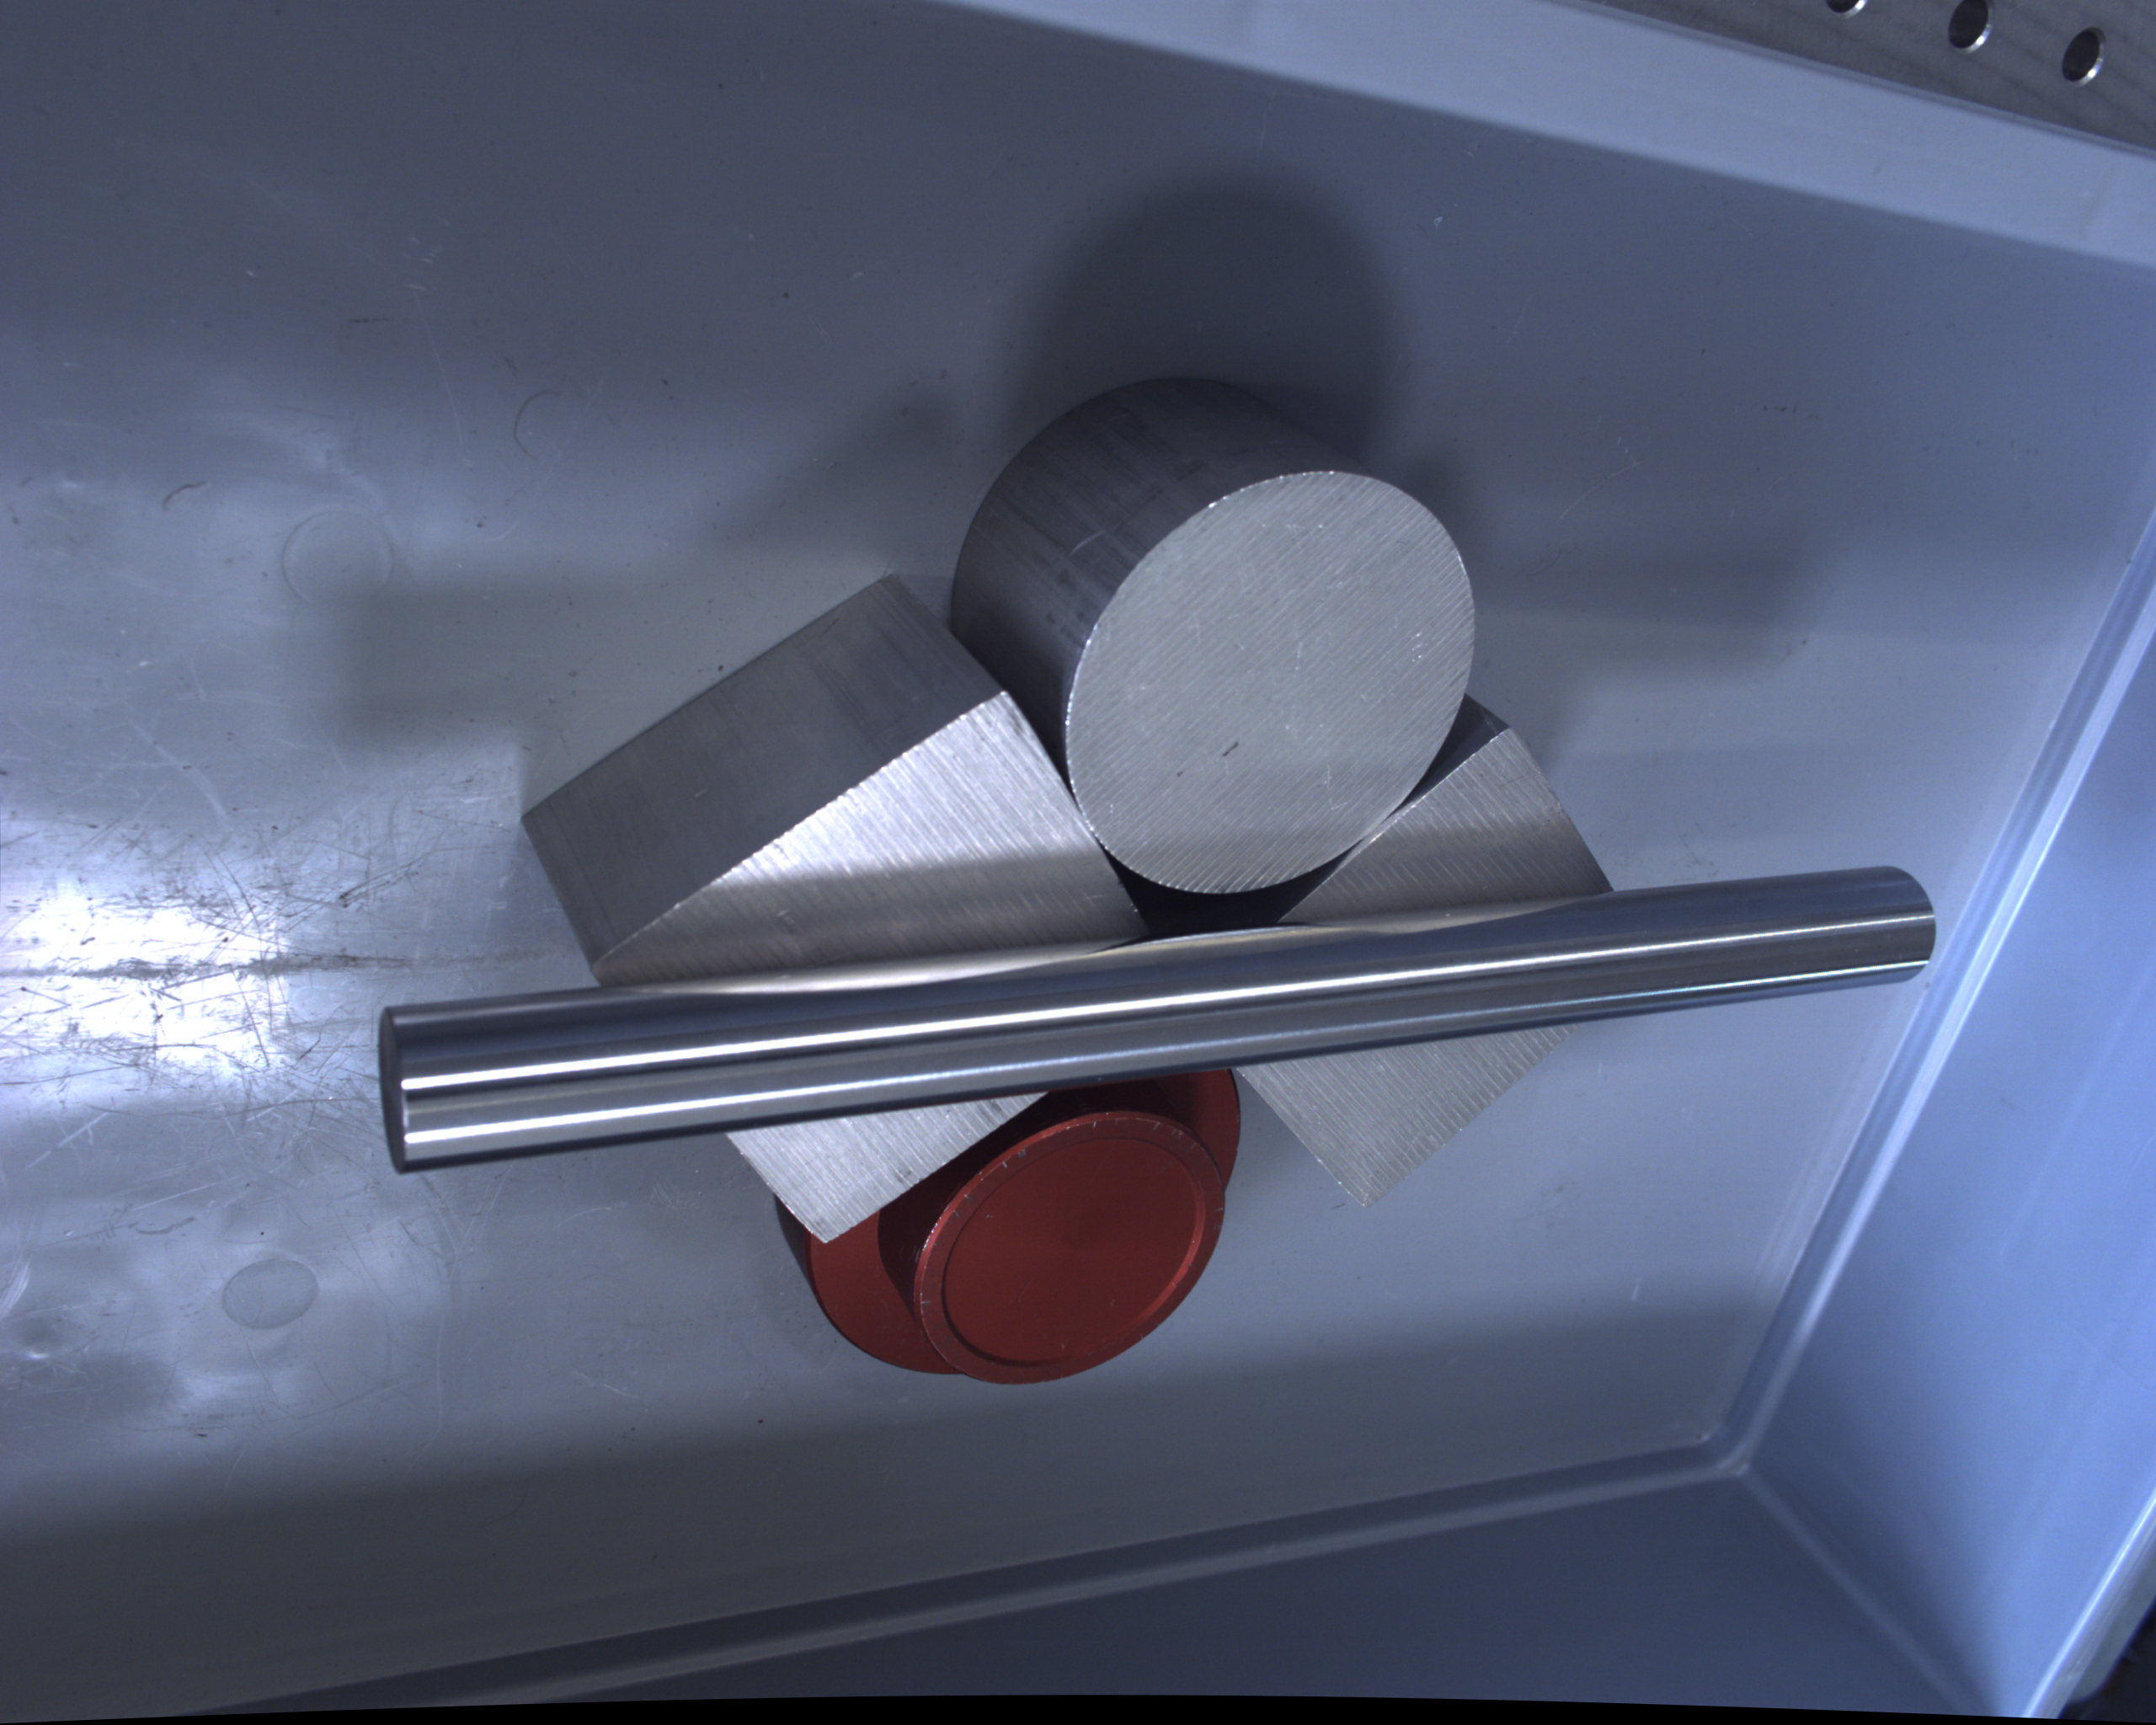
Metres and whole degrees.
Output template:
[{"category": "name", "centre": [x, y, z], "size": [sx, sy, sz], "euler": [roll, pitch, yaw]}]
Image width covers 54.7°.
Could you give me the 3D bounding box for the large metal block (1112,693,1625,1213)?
[{"category": "large metal block", "centre": [0.060, 0.012, 0.427], "size": [0.080, 0.050, 0.080], "euler": [-40, 130, 0]}]

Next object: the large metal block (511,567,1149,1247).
[{"category": "large metal block", "centre": [-0.039, 0.008, 0.374], "size": [0.080, 0.050, 0.080], "euler": [-35, 131, -6]}]

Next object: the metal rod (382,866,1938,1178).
[{"category": "metal rod", "centre": [0.035, 0.023, 0.373], "size": [0.303, 0.025, 0.025], "euler": [-4, 121, -26]}]

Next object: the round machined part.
[{"category": "round machined part", "centre": [-0.009, 0.069, 0.433], "size": [0.099, 0.042, 0.097], "euler": [-14, 124, -21]}]

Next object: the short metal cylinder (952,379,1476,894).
[{"category": "short metal cylinder", "centre": [0.024, -0.041, 0.378], "size": [0.081, 0.050, 0.079], "euler": [-14, 124, -21]}]
